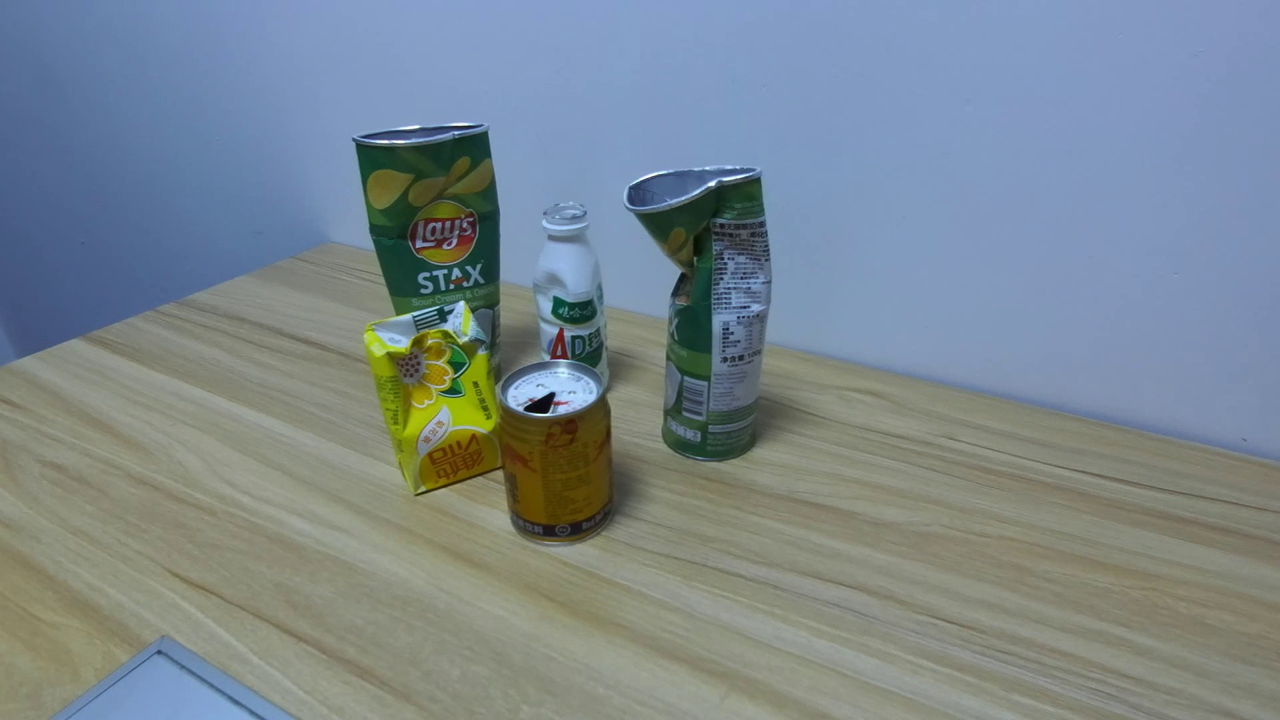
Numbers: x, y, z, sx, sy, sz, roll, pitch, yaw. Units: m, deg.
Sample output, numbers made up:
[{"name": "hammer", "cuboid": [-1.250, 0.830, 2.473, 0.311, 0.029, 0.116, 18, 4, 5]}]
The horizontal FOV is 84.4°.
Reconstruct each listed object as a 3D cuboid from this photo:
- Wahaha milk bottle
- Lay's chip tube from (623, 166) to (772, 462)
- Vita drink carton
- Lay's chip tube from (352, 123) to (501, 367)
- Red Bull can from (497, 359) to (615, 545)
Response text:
[{"name": "Wahaha milk bottle", "cuboid": [-0.052, -0.041, 0.532, 0.055, 0.149, 0.055, -1, 31, 1]}, {"name": "Lay's chip tube", "cuboid": [0.040, -0.027, 0.463, 0.071, 0.200, 0.078, -21, 34, -19]}, {"name": "Vita drink carton", "cuboid": [-0.132, 0.025, 0.463, 0.071, 0.110, 0.046, -17, 32, -27]}, {"name": "Lay's chip tube", "cuboid": [-0.150, -0.073, 0.541, 0.068, 0.200, 0.075, 14, 34, 22]}, {"name": "Red Bull can", "cuboid": [-0.049, 0.054, 0.425, 0.067, 0.093, 0.067, 0, 31, 0]}]
